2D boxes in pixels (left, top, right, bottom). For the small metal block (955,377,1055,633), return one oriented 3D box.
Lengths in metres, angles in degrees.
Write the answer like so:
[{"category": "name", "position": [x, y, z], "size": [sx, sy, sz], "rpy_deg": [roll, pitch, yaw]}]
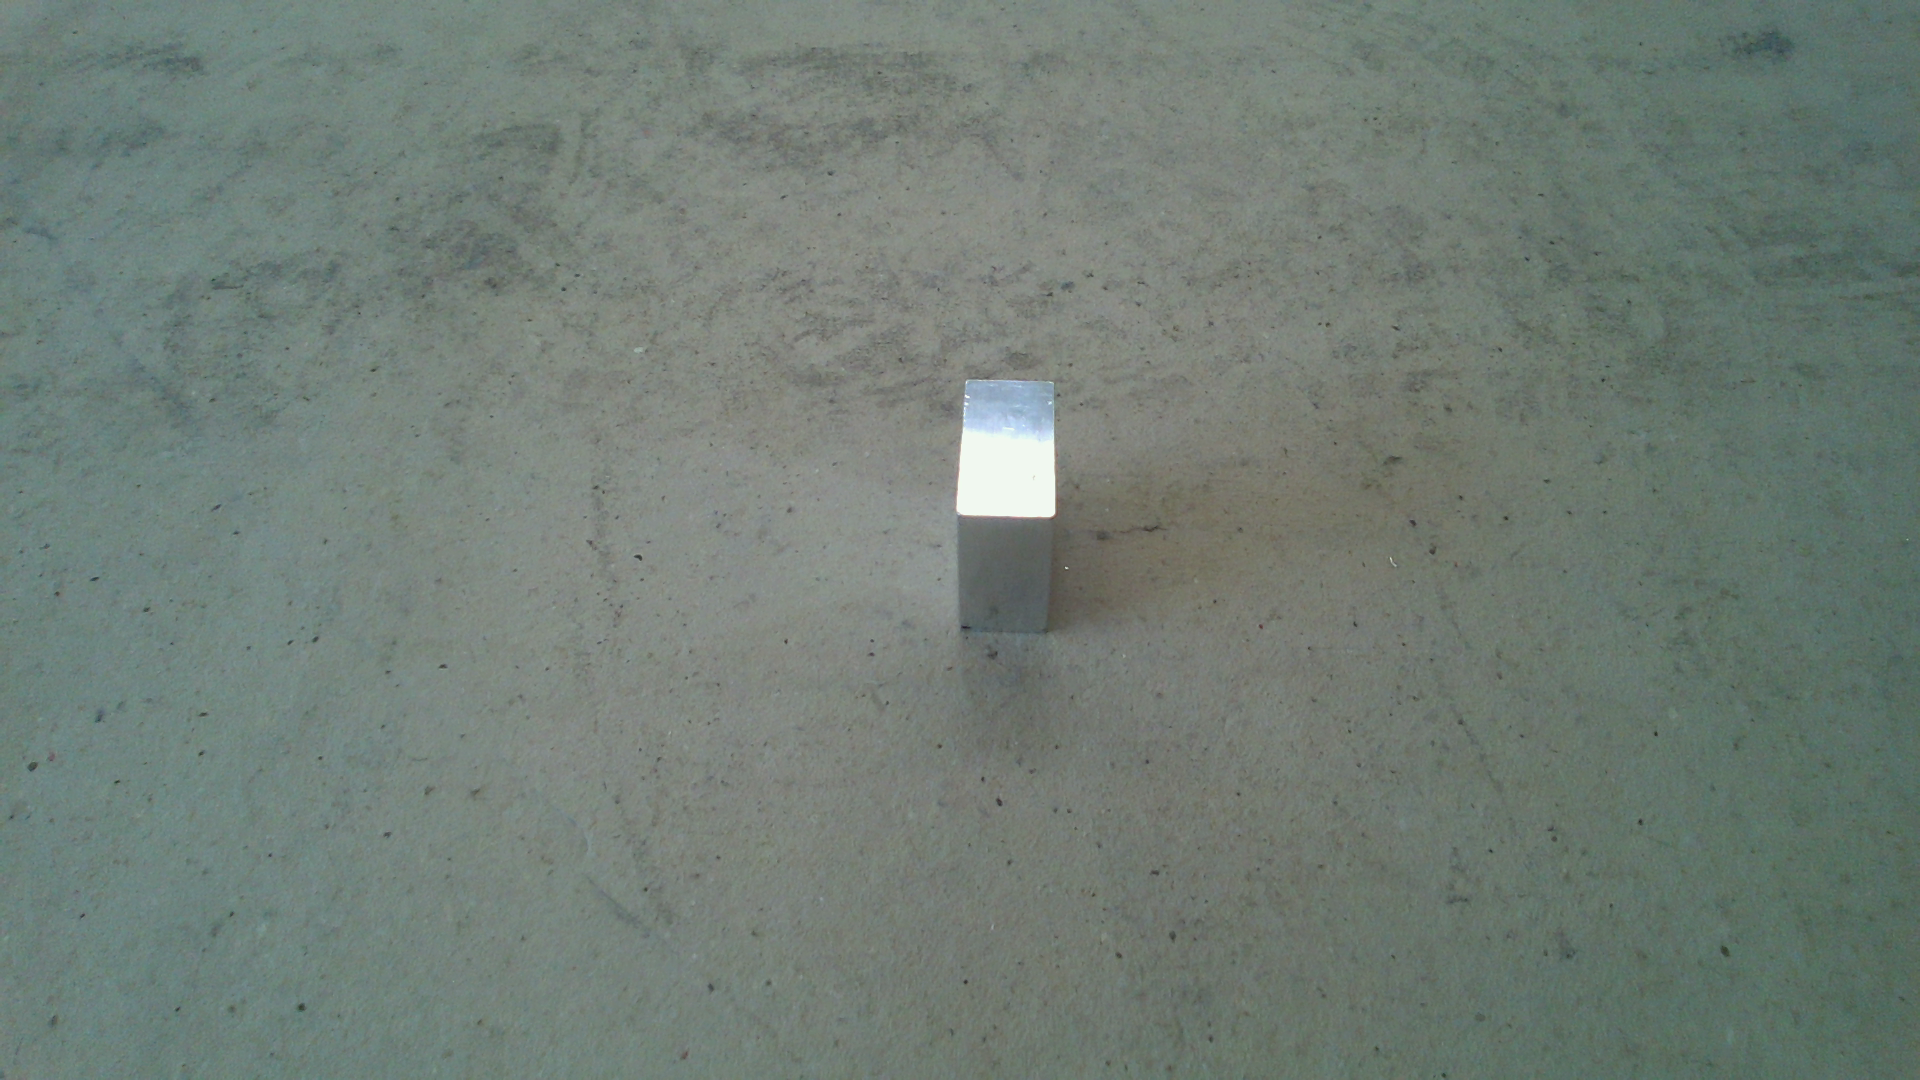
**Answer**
[{"category": "small metal block", "position": [0.012, -0.009, 0.383], "size": [0.025, 0.050, 0.050], "rpy_deg": [2, 50, 1]}]
